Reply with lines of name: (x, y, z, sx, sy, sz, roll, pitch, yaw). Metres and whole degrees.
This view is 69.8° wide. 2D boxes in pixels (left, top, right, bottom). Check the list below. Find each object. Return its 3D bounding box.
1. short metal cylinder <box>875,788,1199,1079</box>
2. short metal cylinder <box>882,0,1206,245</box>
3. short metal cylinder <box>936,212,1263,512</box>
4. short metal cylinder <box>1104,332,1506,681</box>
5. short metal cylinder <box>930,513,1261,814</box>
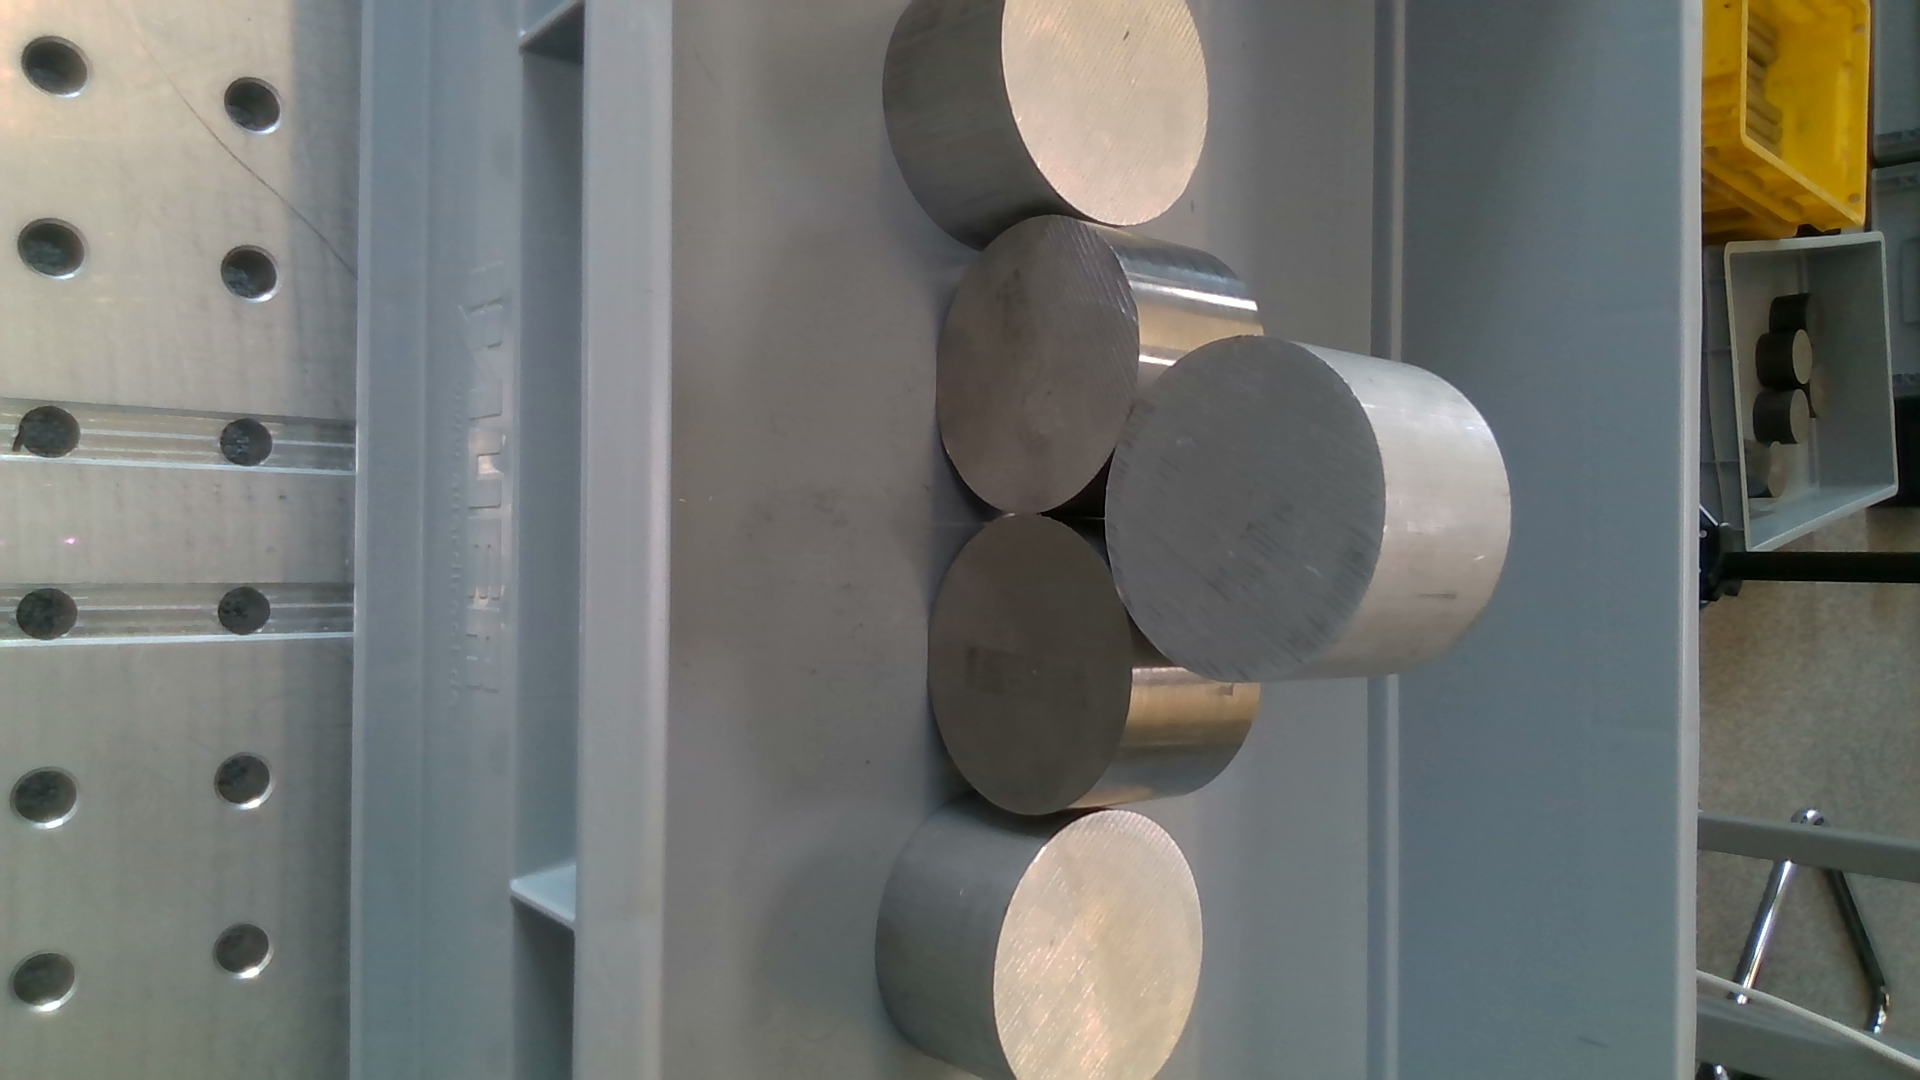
short metal cylinder: (0.023, 0.113, 0.393, 0.080, 0.050, 0.080, 0, 90, -40)
short metal cylinder: (0.025, -0.127, 0.394, 0.080, 0.050, 0.080, 0, 90, -40)
short metal cylinder: (0.038, -0.047, 0.385, 0.050, 0.080, 0.080, 2, 89, -40)
short metal cylinder: (0.081, -0.007, 0.333, 0.050, 0.080, 0.080, 2, 89, -40)
short metal cylinder: (0.036, 0.033, 0.384, 0.050, 0.080, 0.080, 2, 89, -40)
